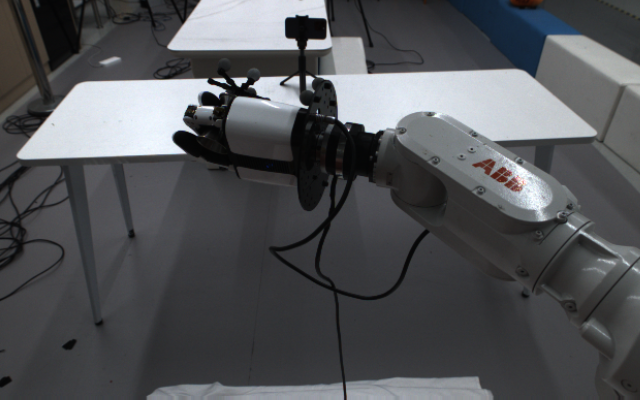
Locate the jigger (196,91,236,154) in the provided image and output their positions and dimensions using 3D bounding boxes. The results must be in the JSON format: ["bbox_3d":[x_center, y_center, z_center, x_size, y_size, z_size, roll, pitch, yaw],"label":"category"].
[{"bbox_3d":[-0.126,-0.100,0.621,0.043,0.043,0.071,15,71,18],"label":"jigger"}]
